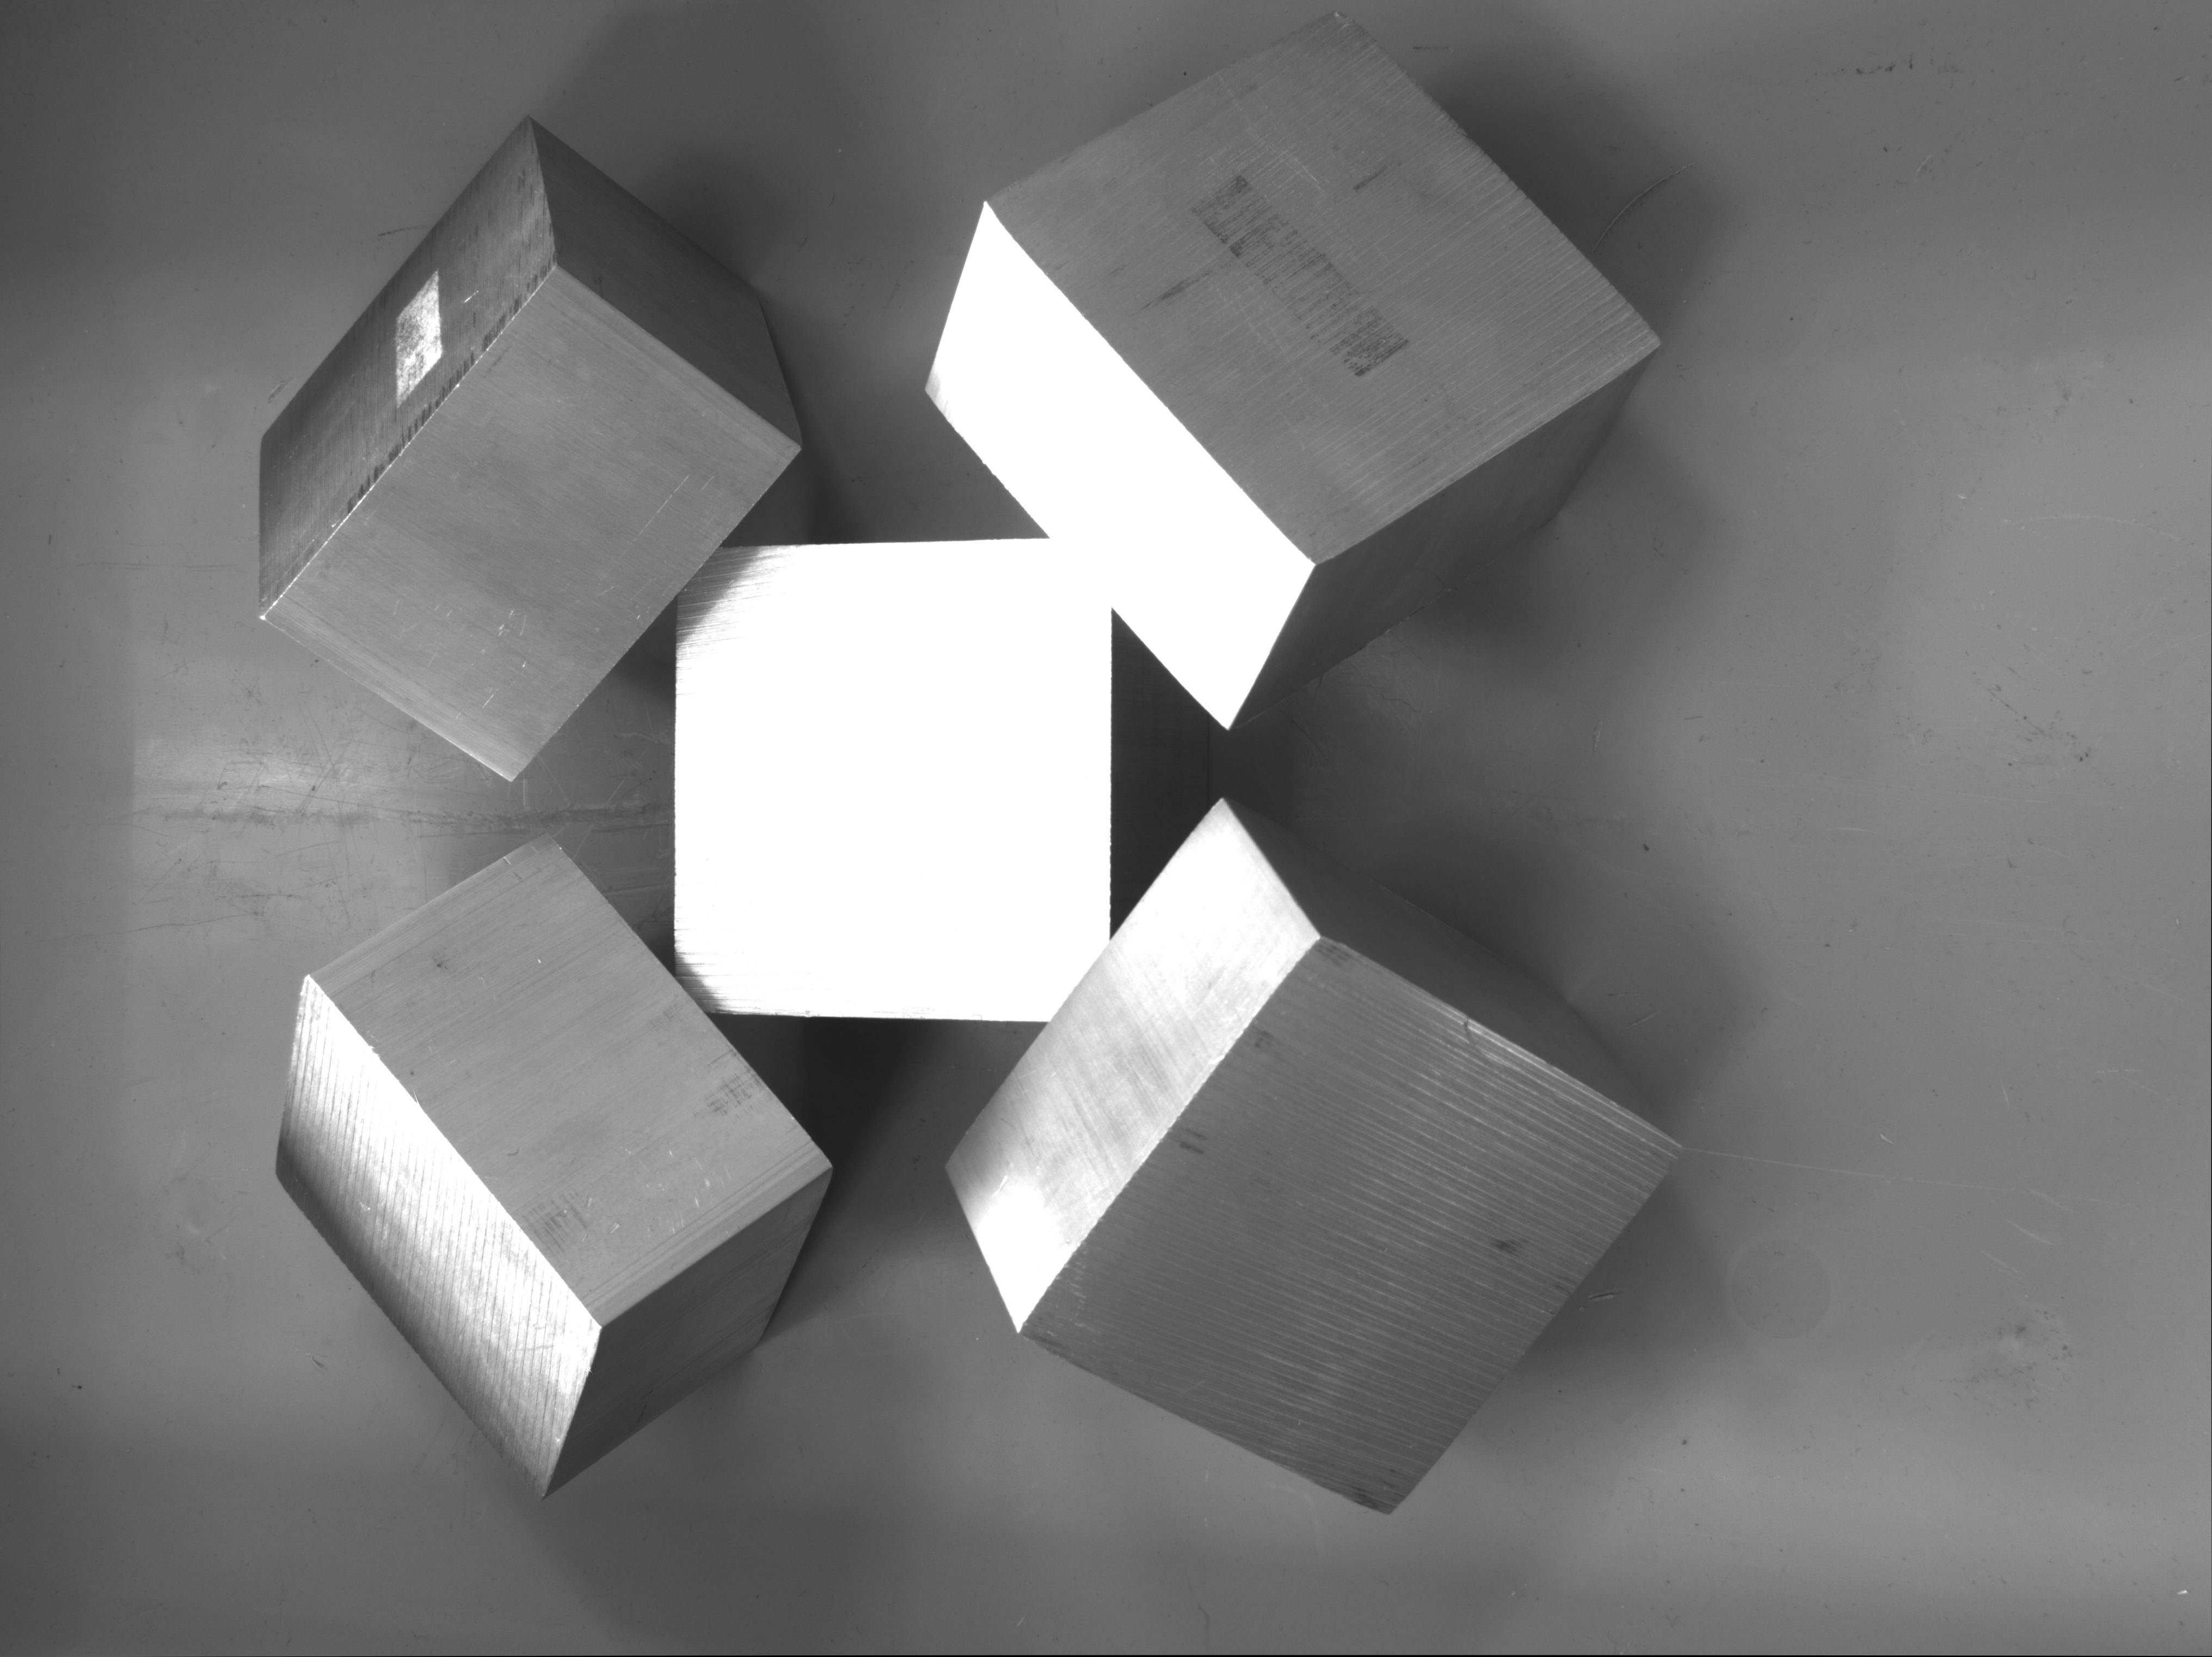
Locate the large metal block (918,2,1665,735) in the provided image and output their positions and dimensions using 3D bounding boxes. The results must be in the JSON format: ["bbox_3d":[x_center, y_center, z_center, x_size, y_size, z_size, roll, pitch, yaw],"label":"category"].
[{"bbox_3d":[0.029,-0.076,0.599,0.080,0.050,0.080,-34,74,-28],"label":"large metal block"}]

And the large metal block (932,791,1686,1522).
[{"bbox_3d":[0.032,0.054,0.597,0.080,0.050,0.080,30,103,-28],"label":"large metal block"}]

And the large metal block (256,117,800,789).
[{"bbox_3d":[-0.104,-0.067,0.645,0.050,0.080,0.080,35,105,-28],"label":"large metal block"}]

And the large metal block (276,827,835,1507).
[{"bbox_3d":[-0.099,0.061,0.646,0.080,0.050,0.080,48,149,14],"label":"large metal block"}]

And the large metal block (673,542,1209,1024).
[{"bbox_3d":[-0.028,-0.008,0.641,0.080,0.050,0.080,1,90,20],"label":"large metal block"}]
